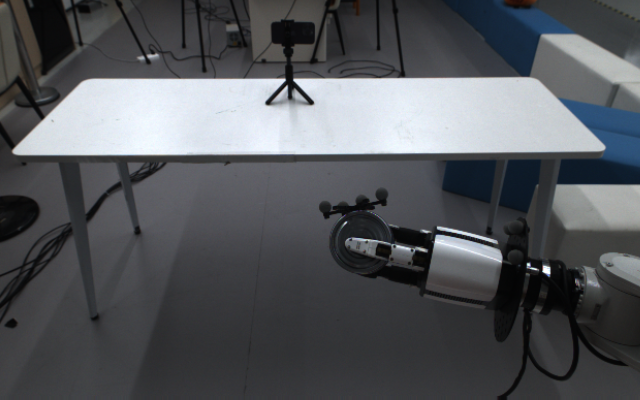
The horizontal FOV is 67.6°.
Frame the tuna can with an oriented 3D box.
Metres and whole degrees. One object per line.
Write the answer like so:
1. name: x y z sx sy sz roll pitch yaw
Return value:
1. tuna can: 0.060 0.063 0.647 0.085 0.085 0.034 12 -6 14
